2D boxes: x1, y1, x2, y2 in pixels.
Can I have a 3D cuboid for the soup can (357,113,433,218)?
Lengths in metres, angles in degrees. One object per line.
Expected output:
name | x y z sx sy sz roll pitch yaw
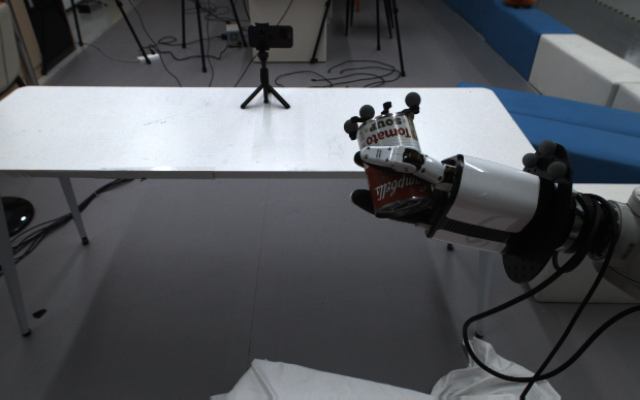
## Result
soup can | 0.085 -0.039 0.544 0.067 0.067 0.101 -8 74 -14
